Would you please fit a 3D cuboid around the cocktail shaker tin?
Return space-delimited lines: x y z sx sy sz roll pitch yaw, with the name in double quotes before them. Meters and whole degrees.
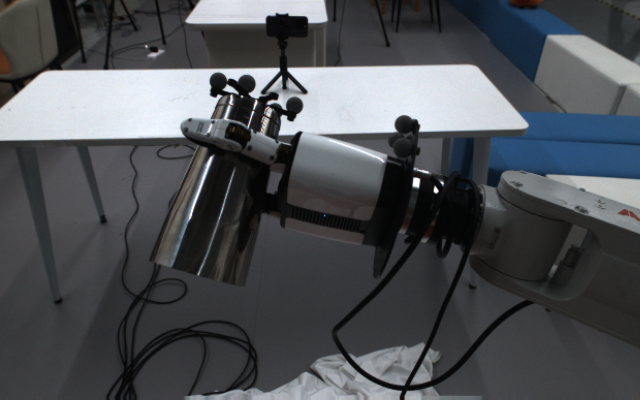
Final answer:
"cocktail shaker tin" -0.089 -0.012 0.471 0.093 0.093 0.170 13 79 15
